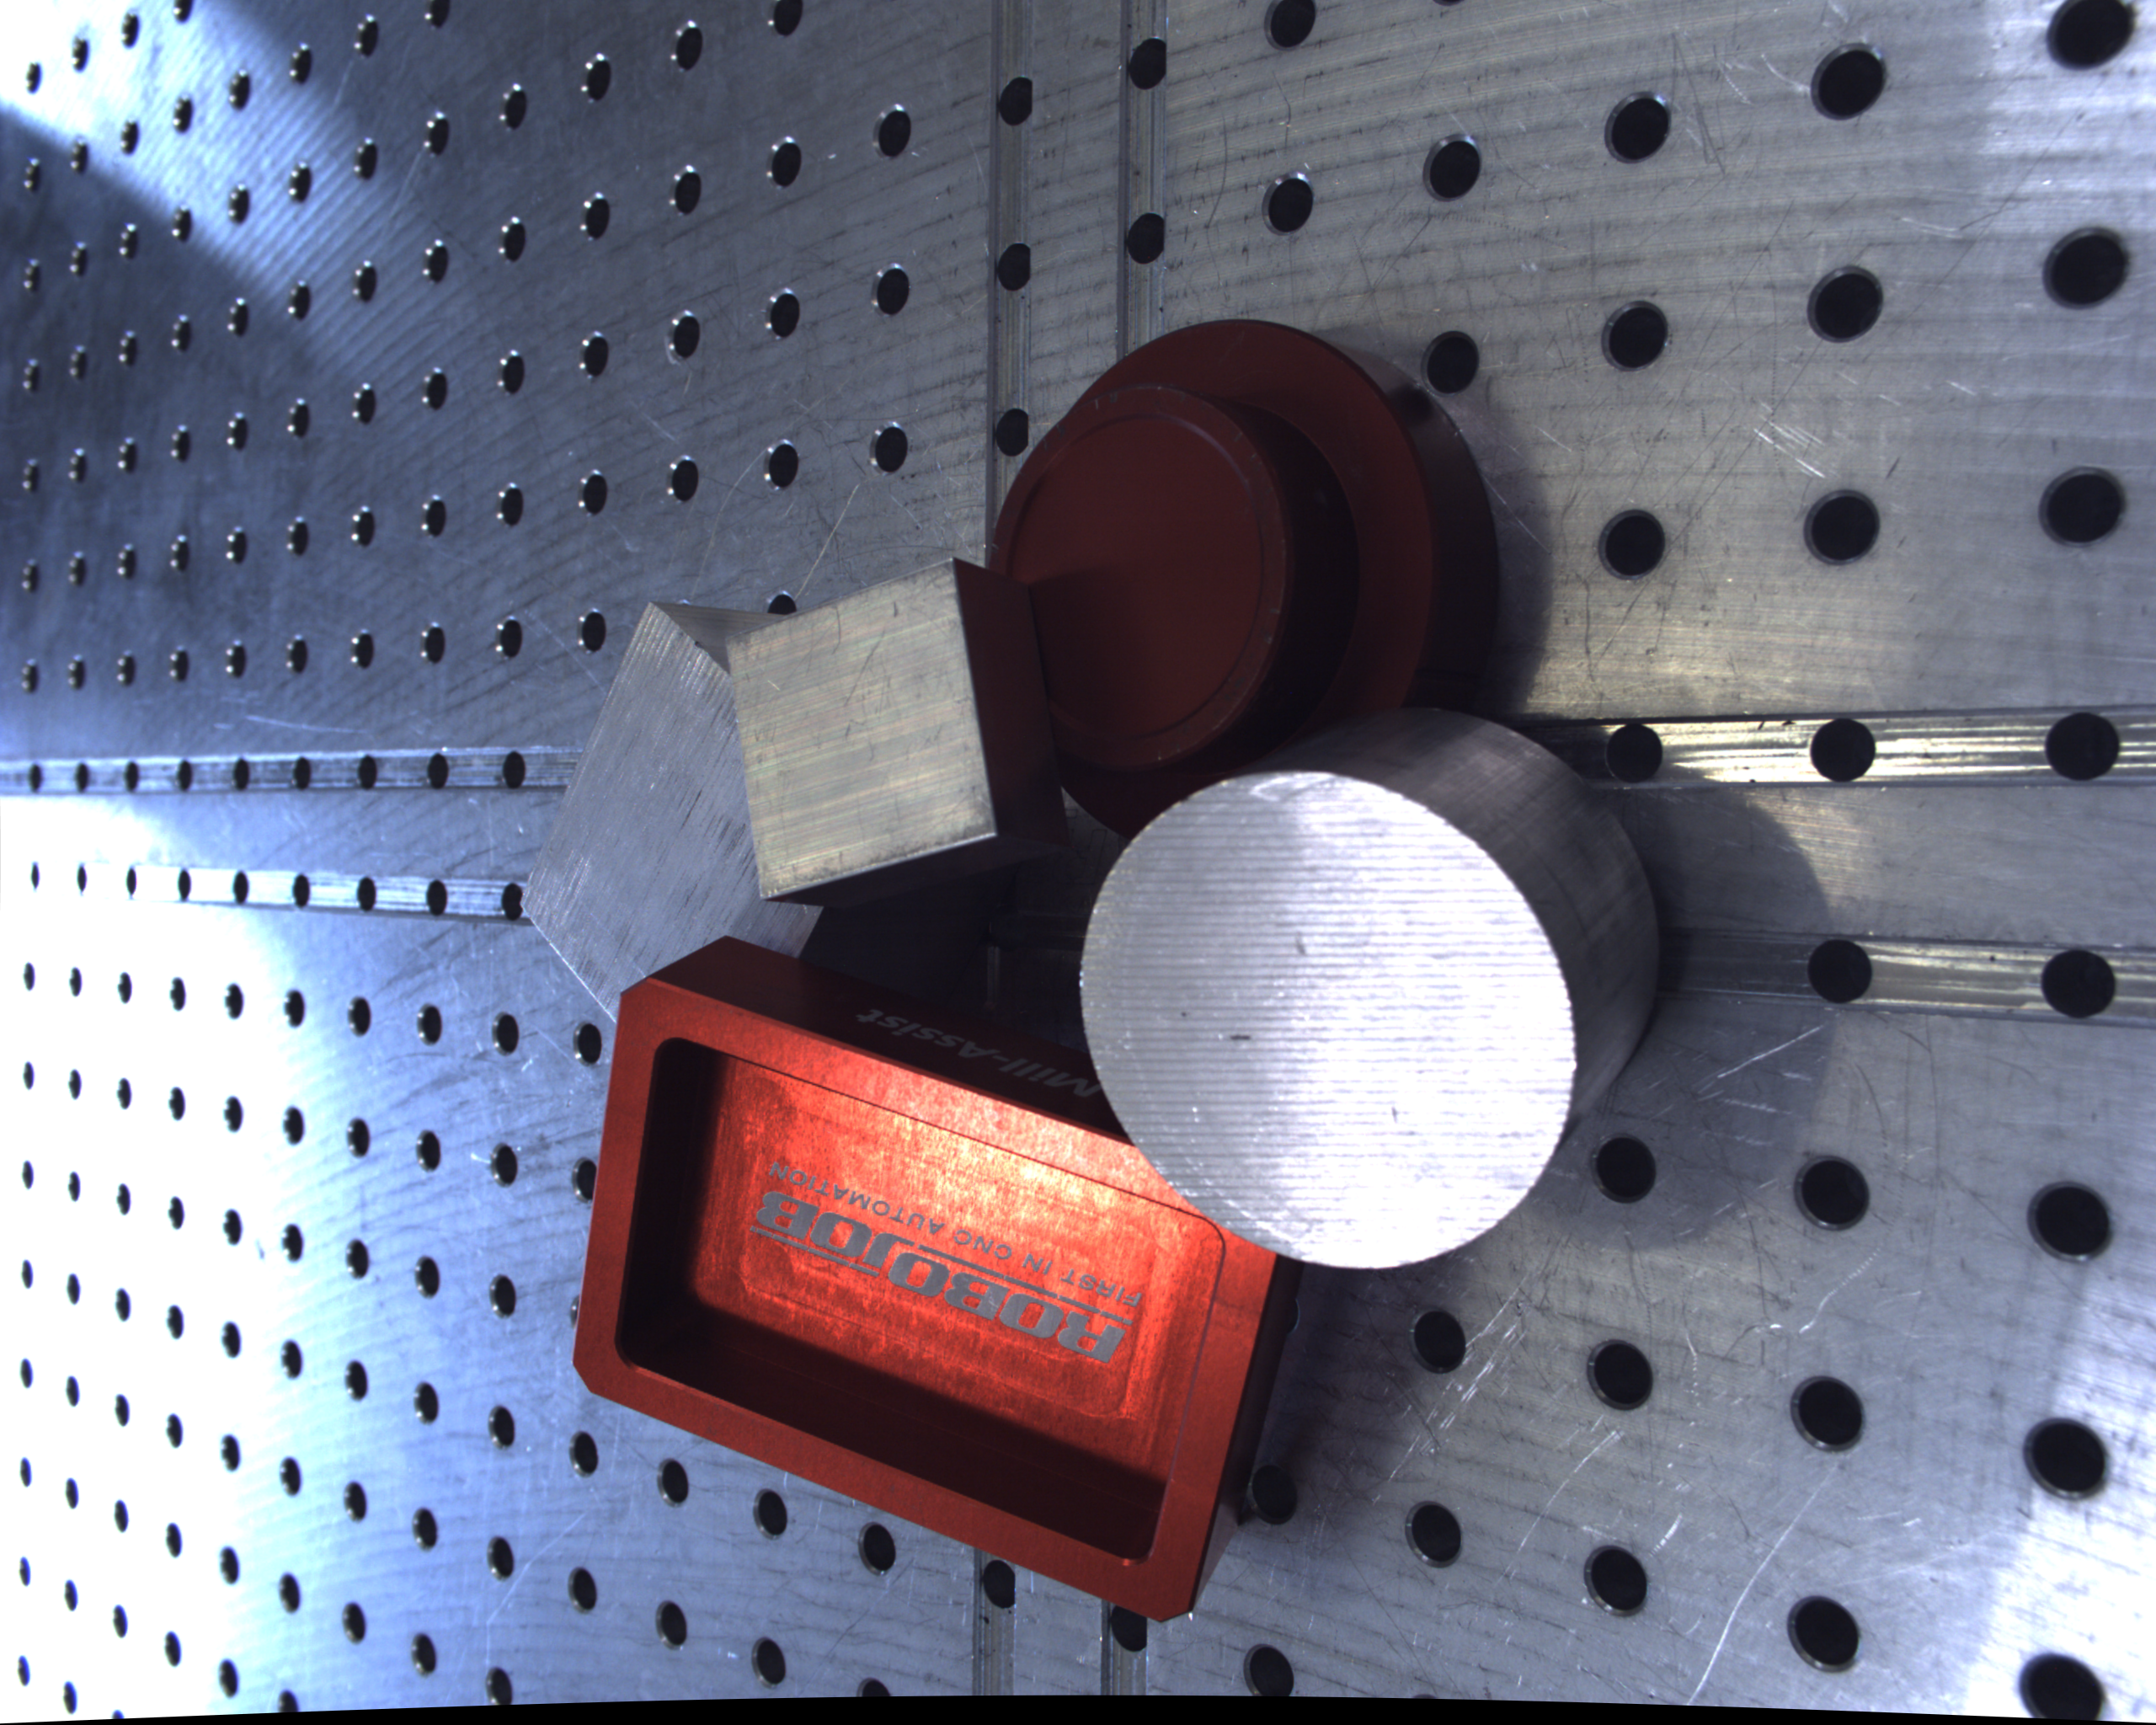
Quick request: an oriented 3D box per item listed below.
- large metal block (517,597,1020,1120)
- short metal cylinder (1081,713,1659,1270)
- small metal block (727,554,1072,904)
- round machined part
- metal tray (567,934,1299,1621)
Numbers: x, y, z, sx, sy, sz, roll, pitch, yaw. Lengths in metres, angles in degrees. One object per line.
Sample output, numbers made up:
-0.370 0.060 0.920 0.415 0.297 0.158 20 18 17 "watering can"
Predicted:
-0.065 0.000 0.447 0.080 0.050 0.080 43 116 31 "large metal block"
0.048 0.019 0.339 0.080 0.050 0.079 8 108 27 "short metal cylinder"
-0.033 -0.022 0.376 0.050 0.025 0.050 -14 78 28 "small metal block"
0.022 -0.050 0.380 0.098 0.042 0.097 0 90 40 "round machined part"
-0.028 0.075 0.392 0.130 0.030 0.089 17 109 16 "metal tray"
